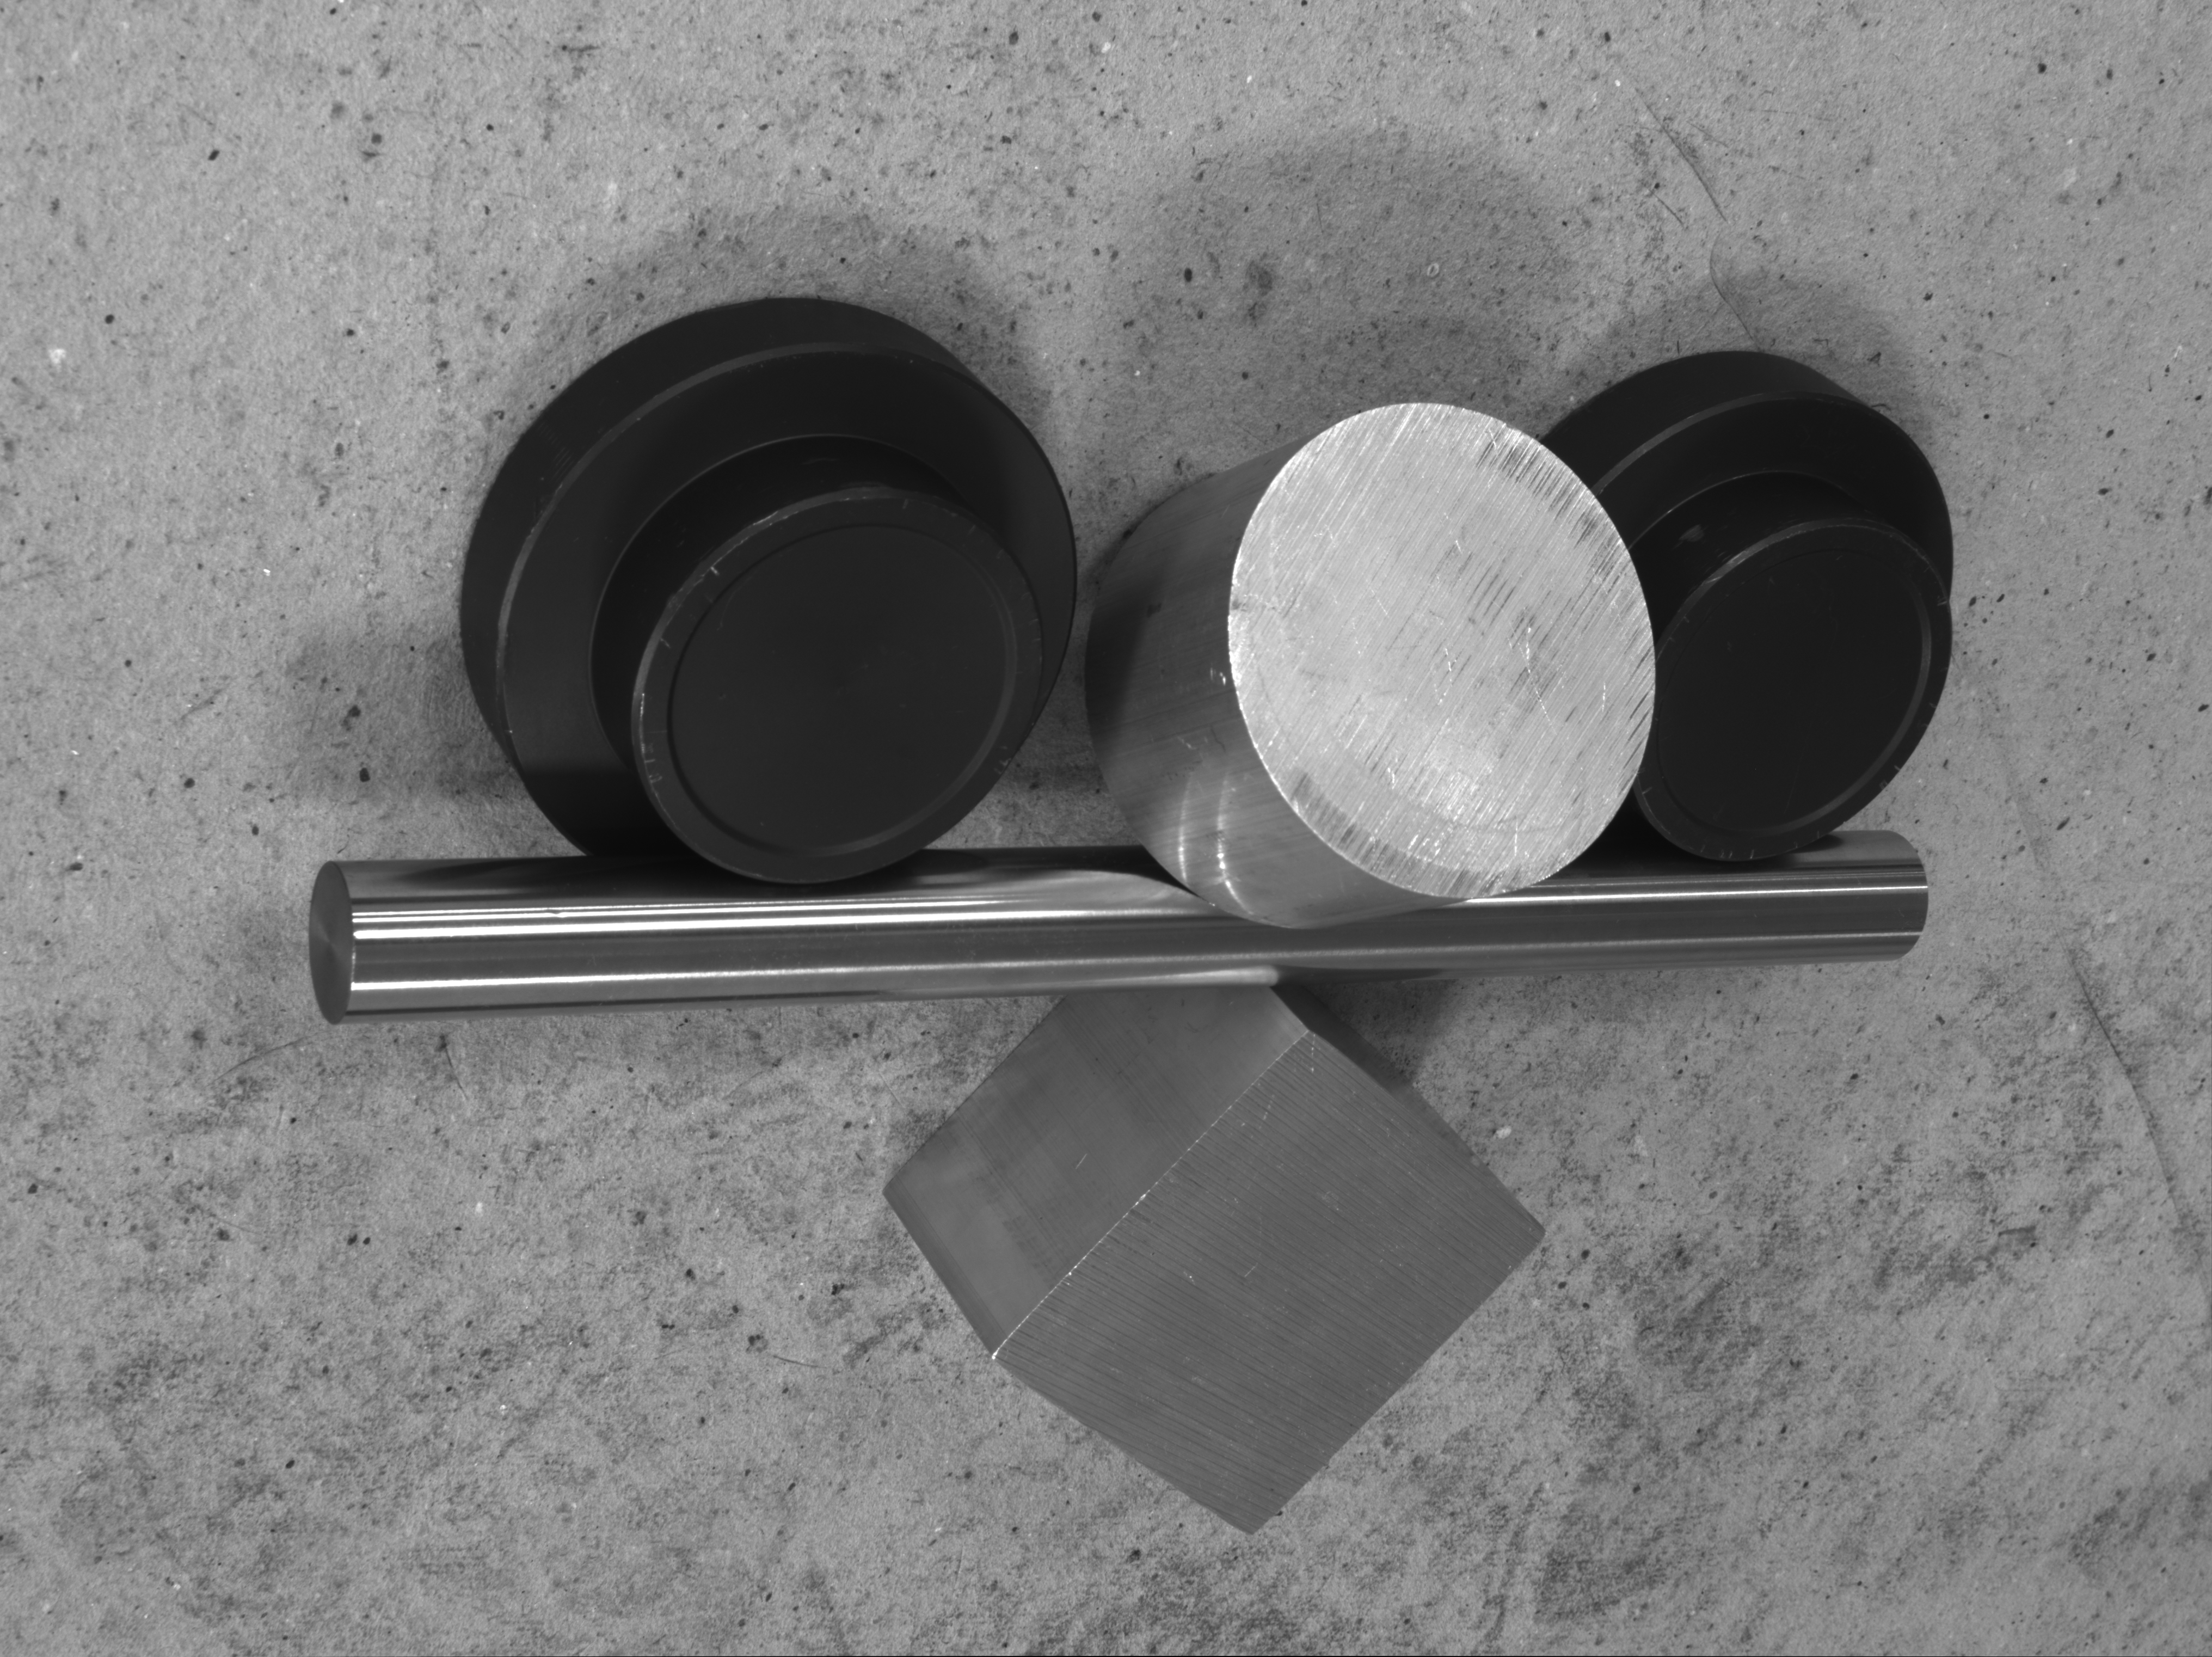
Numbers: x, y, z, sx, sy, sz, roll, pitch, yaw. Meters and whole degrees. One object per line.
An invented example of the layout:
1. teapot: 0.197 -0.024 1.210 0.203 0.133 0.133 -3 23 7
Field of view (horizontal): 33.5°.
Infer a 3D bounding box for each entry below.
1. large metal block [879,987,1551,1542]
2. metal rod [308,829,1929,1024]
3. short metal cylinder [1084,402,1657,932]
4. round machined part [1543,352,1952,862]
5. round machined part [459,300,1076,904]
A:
1. large metal block: 0.020 0.071 0.673 0.080 0.050 0.080 -46 129 4
2. metal rod: 0.015 0.015 0.628 0.301 0.025 0.025 -1 119 -28
3. short metal cylinder: 0.043 -0.025 0.606 0.080 0.050 0.080 4 81 -27
4. round machined part: 0.114 -0.033 0.668 0.098 0.042 0.098 -13 124 -21
5. round machined part: -0.049 -0.030 0.582 0.098 0.042 0.098 -13 124 -21
